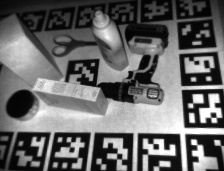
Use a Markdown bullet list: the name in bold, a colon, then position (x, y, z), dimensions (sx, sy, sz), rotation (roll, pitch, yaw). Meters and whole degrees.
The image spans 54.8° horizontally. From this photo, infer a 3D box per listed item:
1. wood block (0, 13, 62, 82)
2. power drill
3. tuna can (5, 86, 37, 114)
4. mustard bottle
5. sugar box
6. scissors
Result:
- **wood block**: position (-0.233, -0.091, 0.592), dimensions (0.091, 0.208, 0.089), rotation (-28, 65, 1)
- **power drill**: position (0.040, -0.063, 0.592), dimensions (0.183, 0.058, 0.187), rotation (11, 77, 17)
- **tuna can**: position (-0.264, 0.038, 0.626), dimensions (0.085, 0.034, 0.085), rotation (-4, 68, 10)
- **mustard bottle**: position (-0.016, -0.131, 0.568), dimensions (0.058, 0.193, 0.095), rotation (-39, 65, -3)
- **sugar box**: position (-0.107, 0.016, 0.574), dimensions (0.175, 0.093, 0.045), rotation (10, 67, 15)
- **scissors**: position (-0.129, -0.153, 0.690), dimensions (0.201, 0.016, 0.087), rotation (0, 64, 13)
